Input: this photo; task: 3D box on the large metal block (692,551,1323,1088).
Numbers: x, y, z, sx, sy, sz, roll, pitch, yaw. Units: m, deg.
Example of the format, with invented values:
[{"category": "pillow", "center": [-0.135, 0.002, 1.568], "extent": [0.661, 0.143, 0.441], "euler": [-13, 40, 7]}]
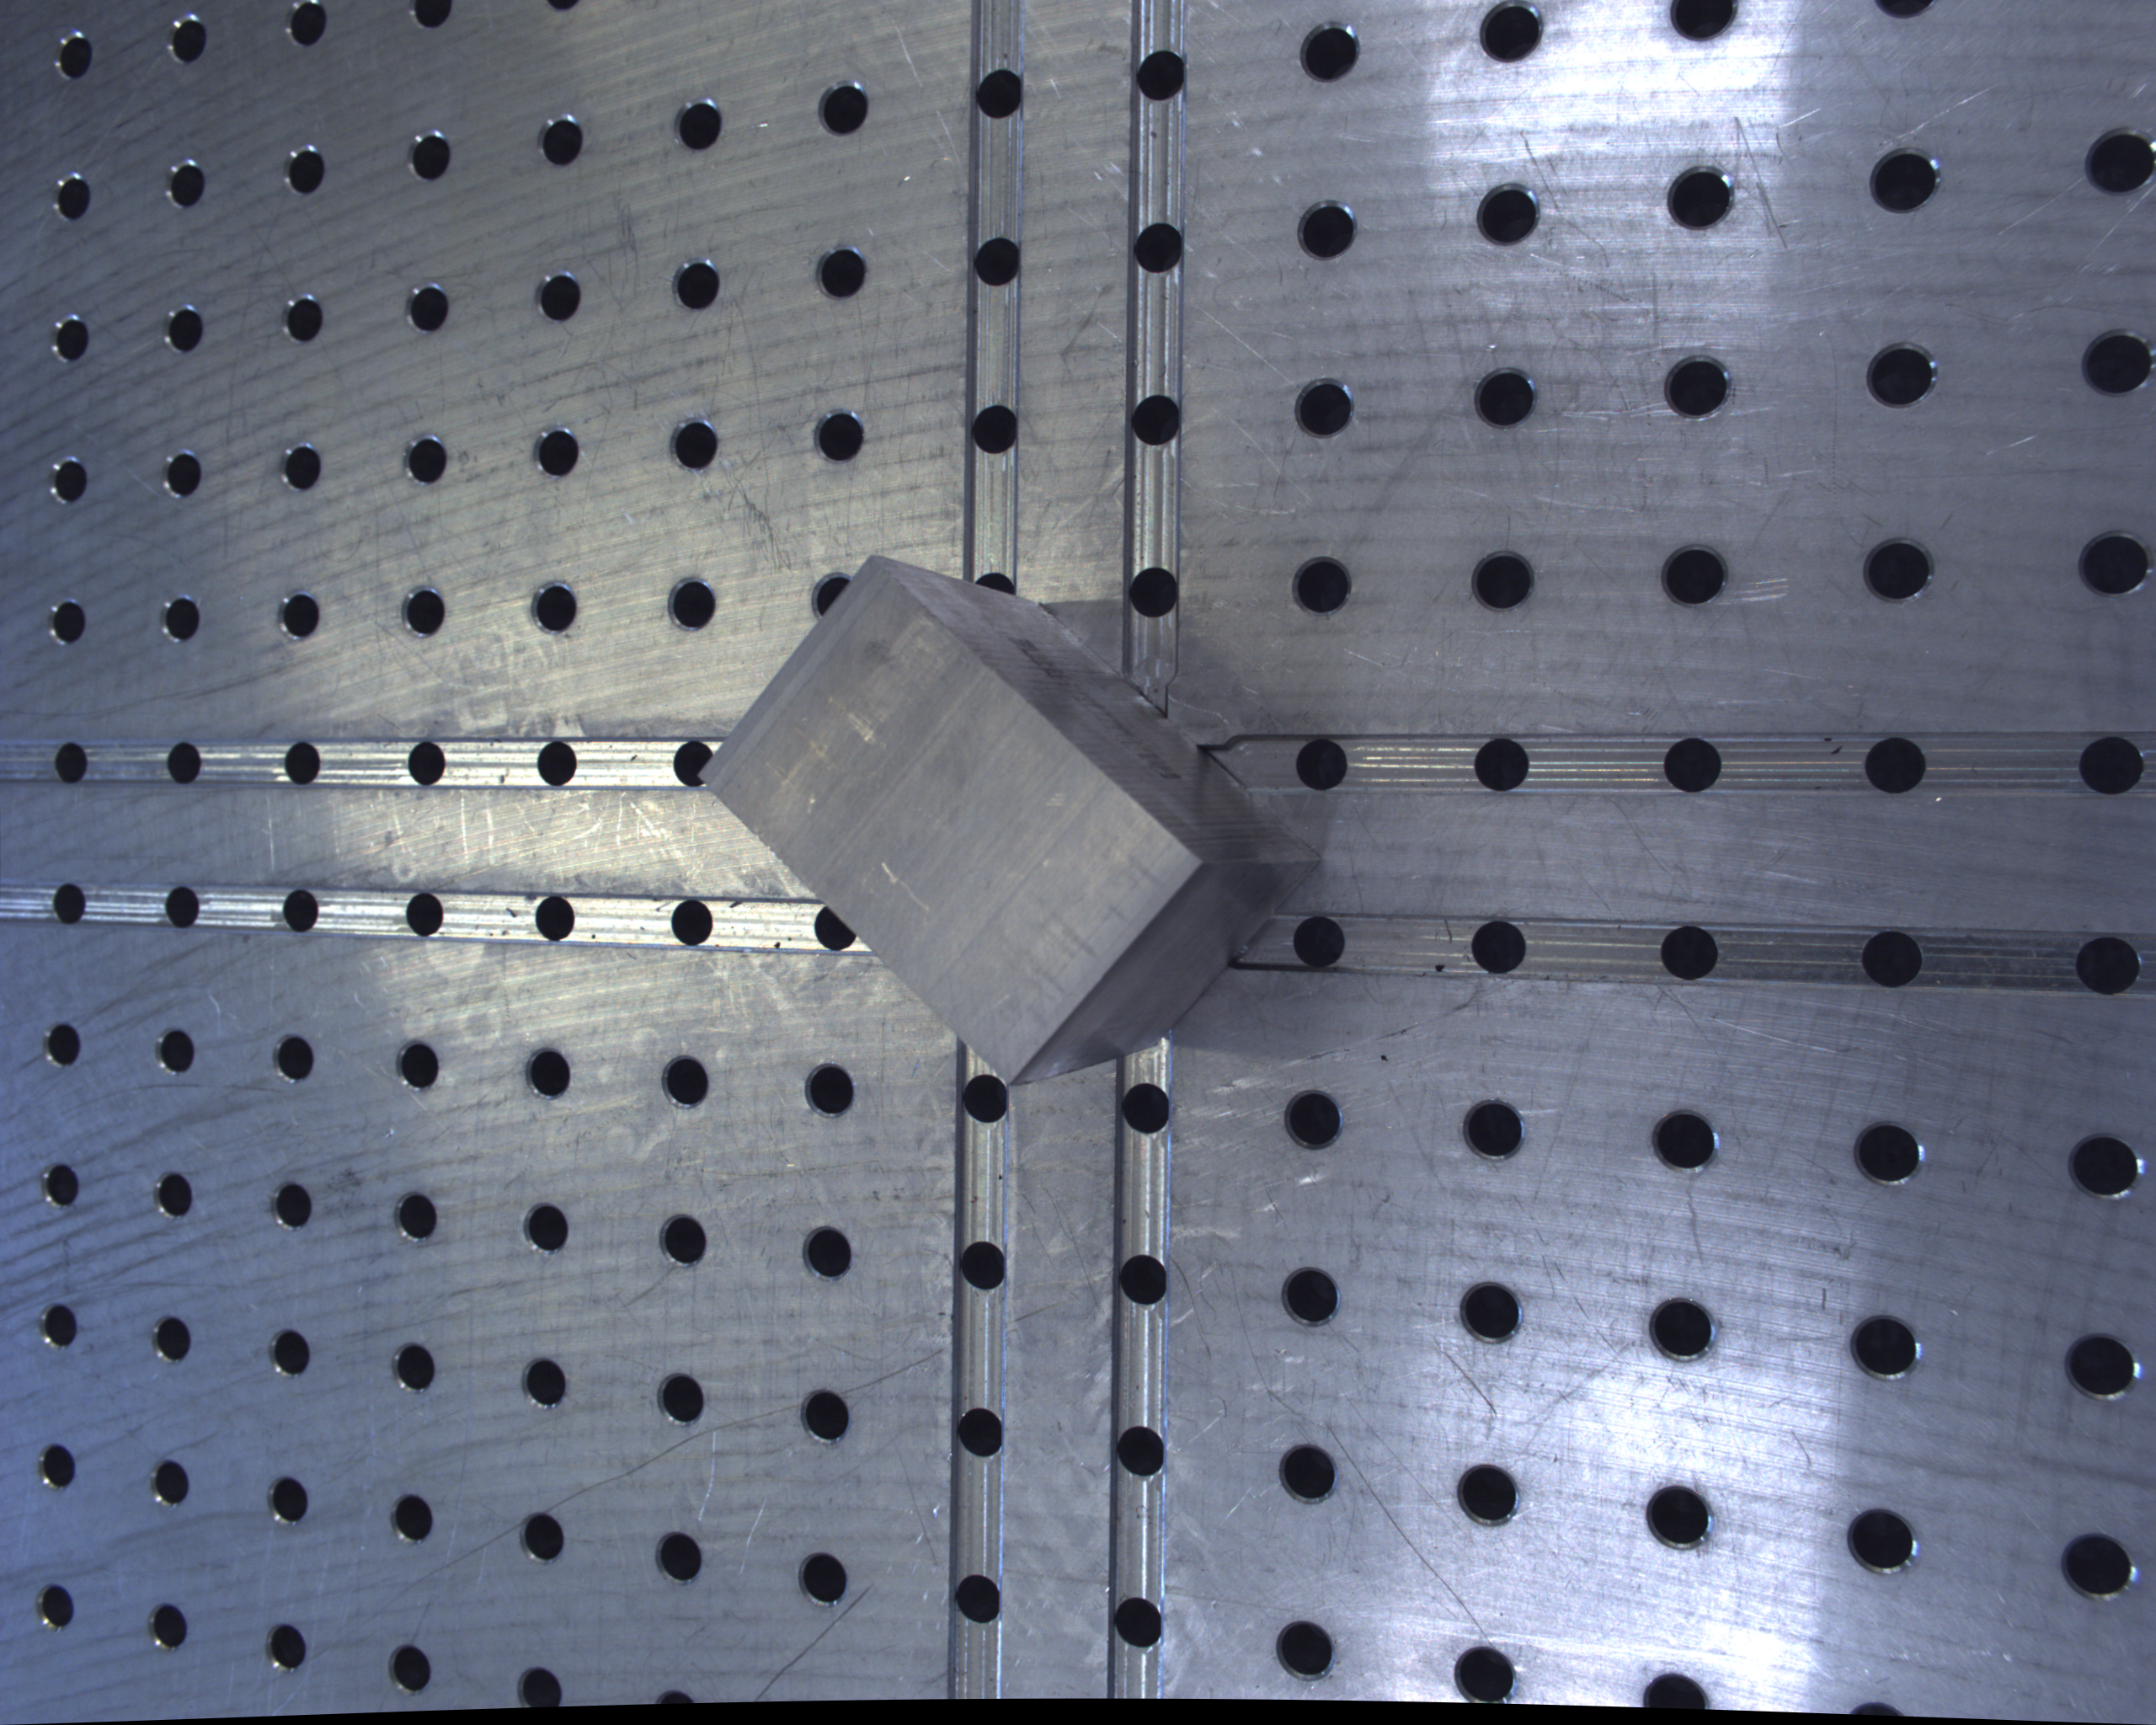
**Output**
[{"category": "large metal block", "center": [-0.010, -0.008, 0.387], "extent": [0.080, 0.080, 0.050], "euler": [43, 104, 14]}]
